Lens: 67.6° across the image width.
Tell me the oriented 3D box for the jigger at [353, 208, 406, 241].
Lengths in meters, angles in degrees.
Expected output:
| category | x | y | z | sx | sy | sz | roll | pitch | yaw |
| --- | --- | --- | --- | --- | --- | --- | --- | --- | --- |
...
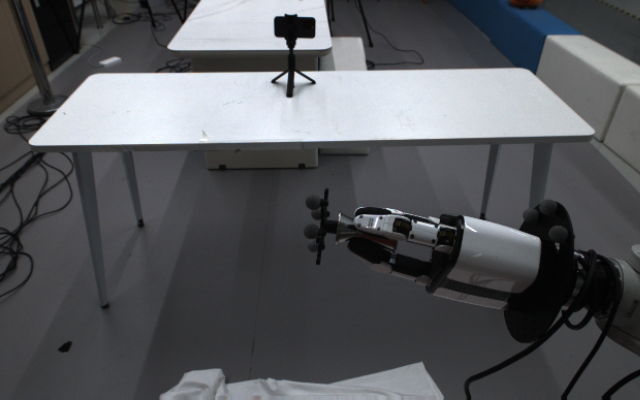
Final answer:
| category | x | y | z | sx | sy | sz | roll | pitch | yaw |
| --- | --- | --- | --- | --- | --- | --- | --- | --- | --- |
| jigger | 0.061 | 0.031 | 0.556 | 0.071 | 0.043 | 0.043 | 5 | 35 | 3 |
